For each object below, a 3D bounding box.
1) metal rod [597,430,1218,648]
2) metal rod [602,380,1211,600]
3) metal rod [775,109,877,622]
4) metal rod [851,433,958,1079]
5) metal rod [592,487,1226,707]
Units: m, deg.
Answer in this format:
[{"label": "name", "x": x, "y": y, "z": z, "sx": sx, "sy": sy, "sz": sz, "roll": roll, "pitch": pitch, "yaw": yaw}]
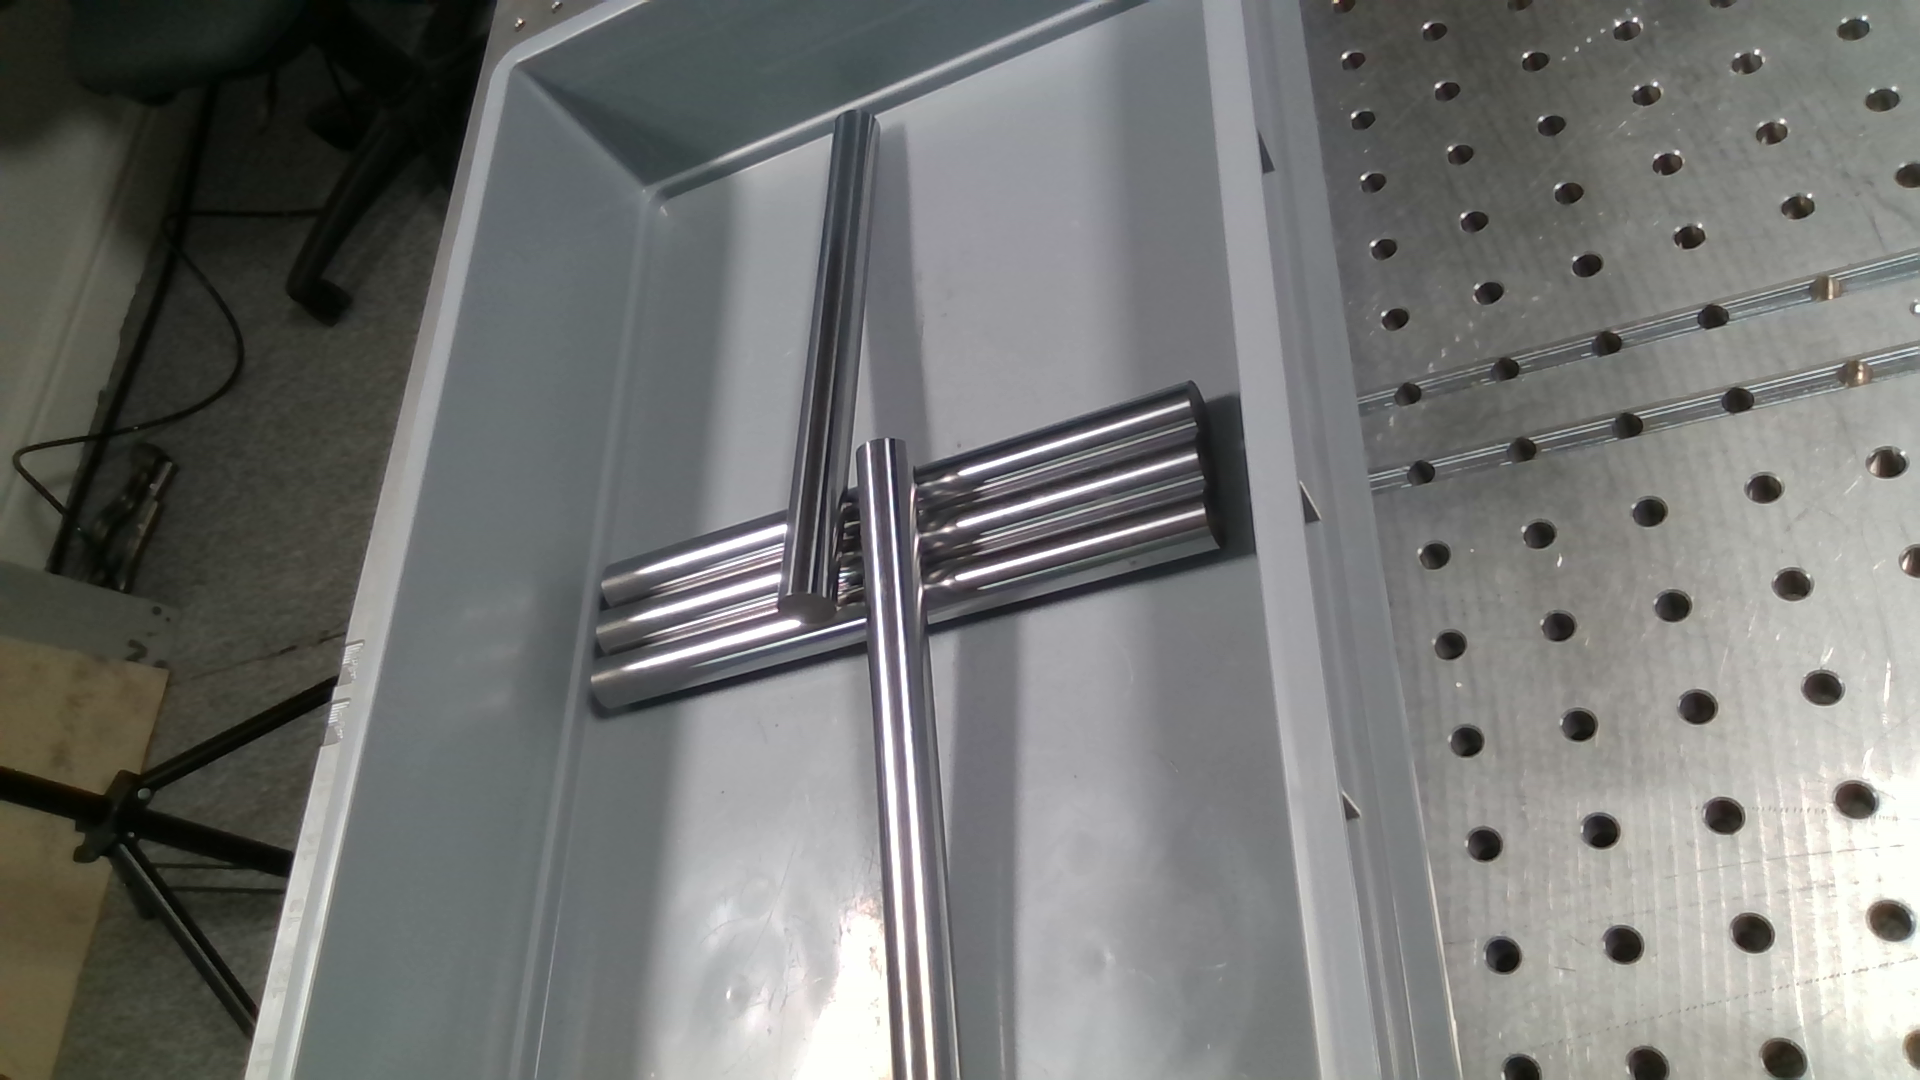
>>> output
[{"label": "metal rod", "x": -0.035, "y": 0.007, "z": 0.602, "sx": 0.300, "sy": 0.025, "sz": 0.025, "roll": -16, "pitch": 58, "yaw": 24}, {"label": "metal rod", "x": -0.035, "y": -0.015, "z": 0.614, "sx": 0.300, "sy": 0.025, "sz": 0.025, "roll": -16, "pitch": 58, "yaw": 24}, {"label": "metal rod", "x": -0.060, "y": -0.096, "z": 0.651, "sx": 0.025, "sy": 0.025, "sz": 0.299, "roll": -16, "pitch": 52, "yaw": 24}, {"label": "metal rod", "x": -0.021, "y": 0.097, "z": 0.523, "sx": 0.025, "sy": 0.025, "sz": 0.299, "roll": -16, "pitch": 64, "yaw": 24}, {"label": "metal rod", "x": -0.034, "y": 0.029, "z": 0.590, "sx": 0.300, "sy": 0.025, "sz": 0.025, "roll": -16, "pitch": 58, "yaw": 24}]
